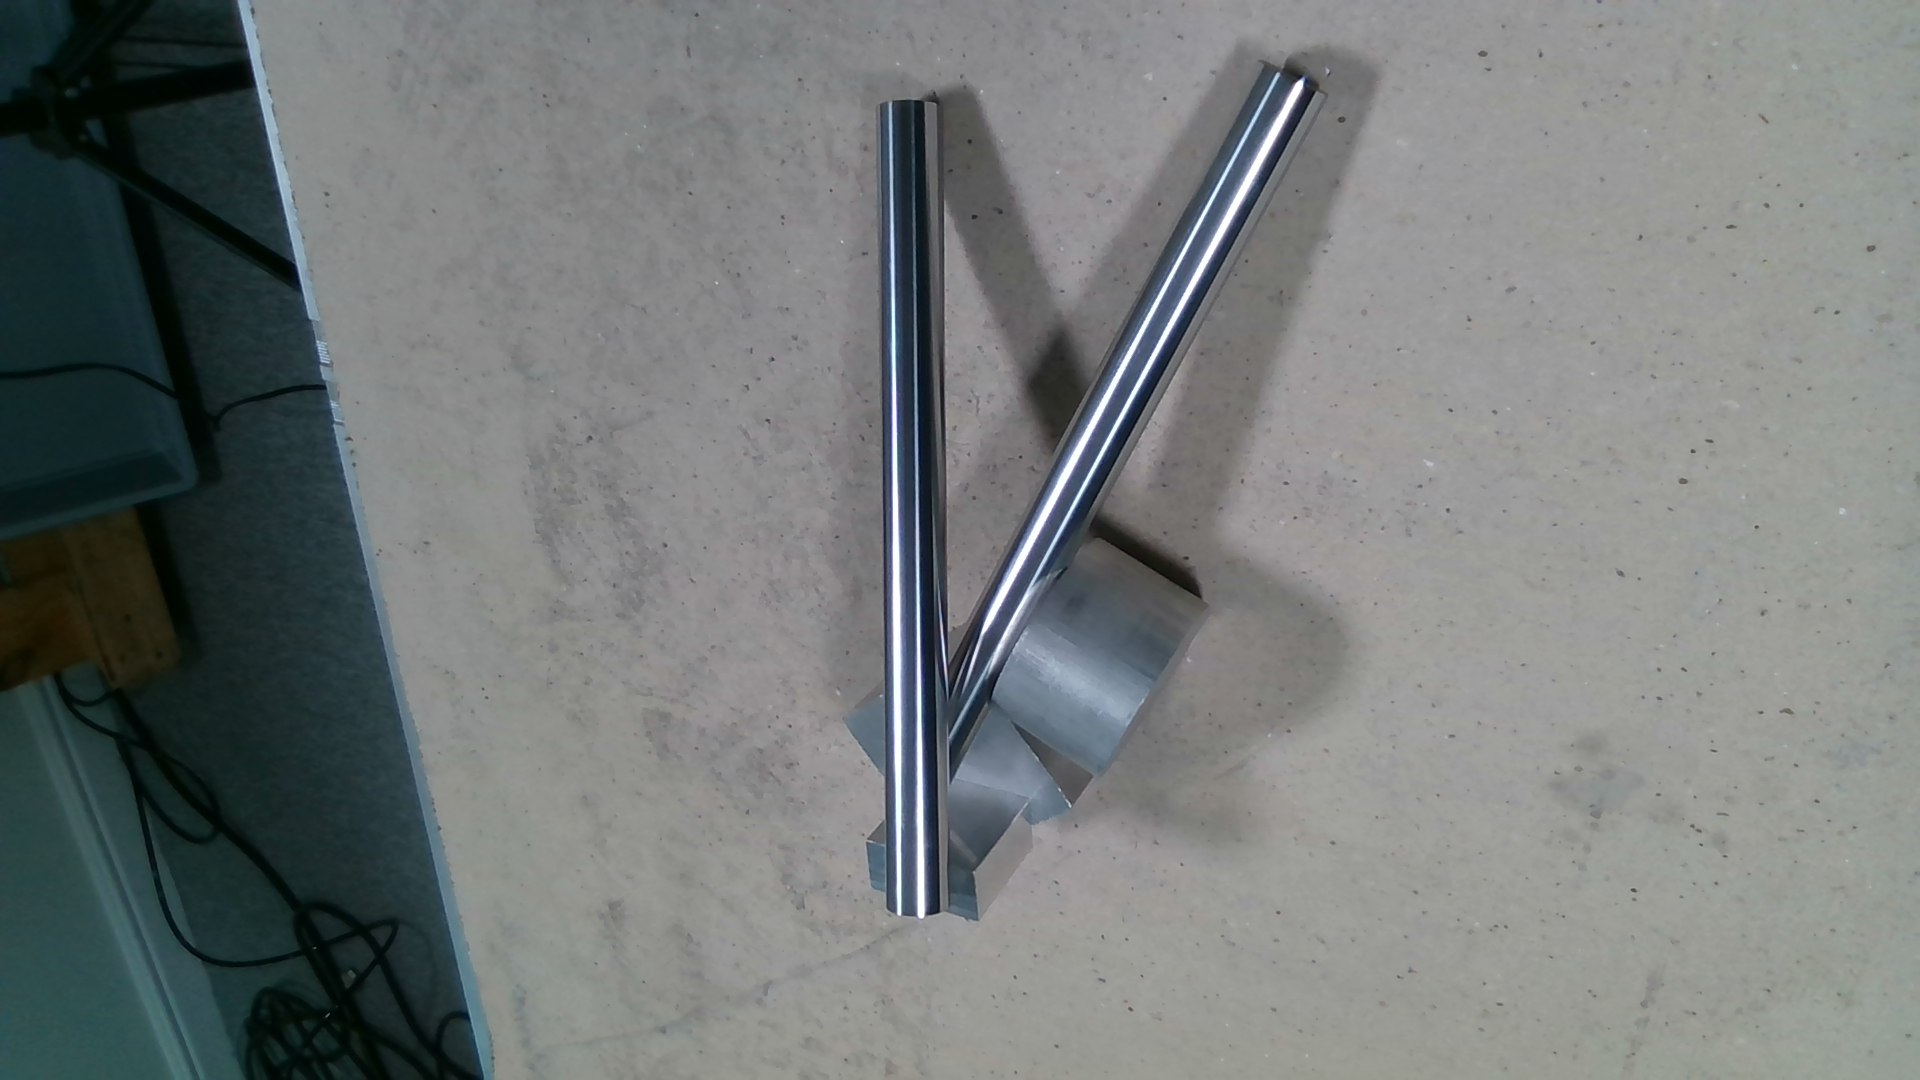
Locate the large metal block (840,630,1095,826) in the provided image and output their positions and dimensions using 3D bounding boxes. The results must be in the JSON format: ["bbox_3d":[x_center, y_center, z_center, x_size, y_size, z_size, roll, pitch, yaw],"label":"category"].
[{"bbox_3d":[0.009,0.084,0.603,0.080,0.050,0.080,-32,95,38],"label":"large metal block"}]

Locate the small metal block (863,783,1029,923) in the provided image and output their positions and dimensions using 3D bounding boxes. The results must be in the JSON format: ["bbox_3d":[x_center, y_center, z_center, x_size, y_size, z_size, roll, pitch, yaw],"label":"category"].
[{"bbox_3d":[-0.004,0.126,0.567,0.050,0.050,0.025,10,119,27],"label":"small metal block"}]

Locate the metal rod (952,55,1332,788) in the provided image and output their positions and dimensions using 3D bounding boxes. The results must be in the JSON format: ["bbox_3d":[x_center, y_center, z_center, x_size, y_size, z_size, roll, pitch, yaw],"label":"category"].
[{"bbox_3d":[0.046,-0.026,0.500,0.025,0.025,0.301,33,116,13],"label":"metal rod"}]

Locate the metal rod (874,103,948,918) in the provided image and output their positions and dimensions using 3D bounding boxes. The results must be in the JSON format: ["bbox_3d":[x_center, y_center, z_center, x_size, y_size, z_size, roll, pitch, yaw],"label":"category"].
[{"bbox_3d":[-0.018,-0.008,0.518,0.025,0.025,0.300,2,95,31],"label":"metal rod"}]

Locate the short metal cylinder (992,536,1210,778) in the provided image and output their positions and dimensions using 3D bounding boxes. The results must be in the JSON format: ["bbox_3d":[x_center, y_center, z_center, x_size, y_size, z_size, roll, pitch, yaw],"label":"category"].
[{"bbox_3d":[0.056,0.046,0.537,0.050,0.080,0.080,32,128,13],"label":"short metal cylinder"}]
